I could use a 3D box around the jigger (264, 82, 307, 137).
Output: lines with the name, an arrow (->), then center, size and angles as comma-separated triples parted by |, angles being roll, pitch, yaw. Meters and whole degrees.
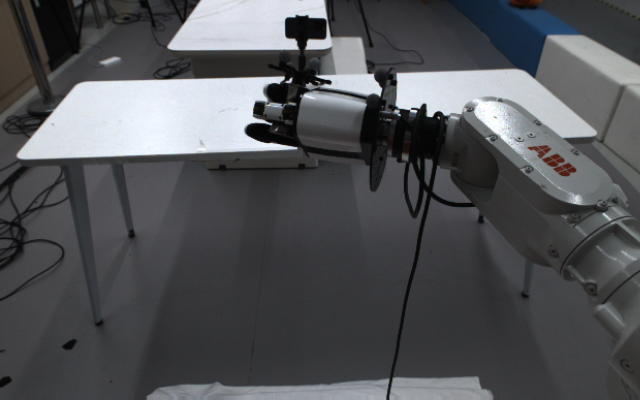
jigger -> -0.041, -0.121, 0.652 | 0.043, 0.071, 0.043 | 17, 2, -1
